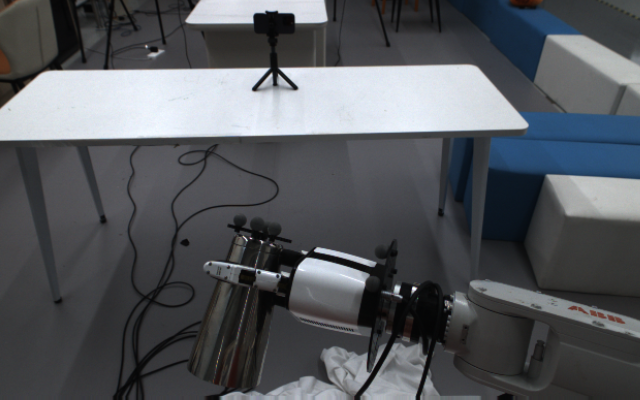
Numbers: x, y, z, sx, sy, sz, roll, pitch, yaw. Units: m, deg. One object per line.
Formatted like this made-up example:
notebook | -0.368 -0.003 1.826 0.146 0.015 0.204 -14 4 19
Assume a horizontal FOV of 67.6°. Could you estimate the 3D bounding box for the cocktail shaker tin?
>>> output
cocktail shaker tin | -0.098 0.134 0.607 0.093 0.170 0.093 15 -5 1
